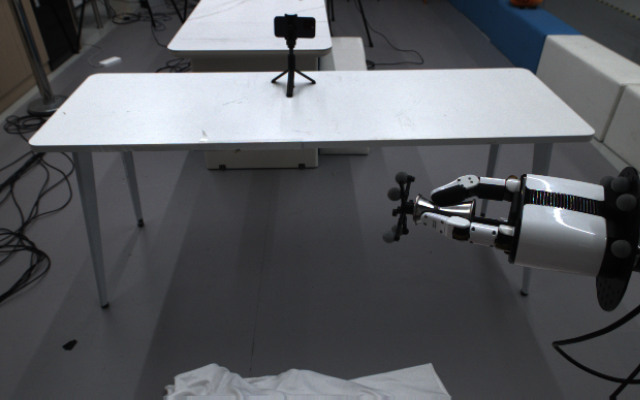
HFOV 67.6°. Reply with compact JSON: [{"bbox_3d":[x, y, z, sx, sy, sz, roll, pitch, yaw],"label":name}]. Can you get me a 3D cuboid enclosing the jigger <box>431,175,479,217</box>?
[{"bbox_3d":[0.158,0.013,0.592,0.071,0.043,0.043,8,34,23],"label":"jigger"}]
